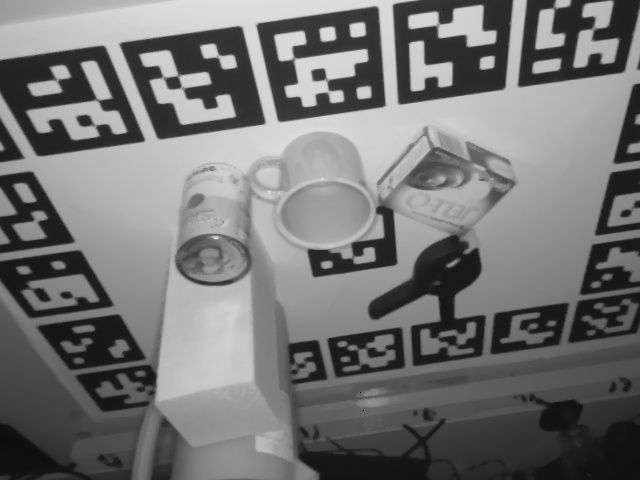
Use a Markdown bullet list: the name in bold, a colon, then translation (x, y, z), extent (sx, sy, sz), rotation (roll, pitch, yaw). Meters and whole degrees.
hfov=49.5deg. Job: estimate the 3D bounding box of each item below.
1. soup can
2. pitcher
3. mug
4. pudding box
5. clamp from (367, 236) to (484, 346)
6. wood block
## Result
- **soup can**: translation (-0.091, -0.015, 0.654), extent (0.068, 0.102, 0.067), rotation (-4, 132, -3)
- **pitcher**: translation (-0.101, 0.186, 0.753), extent (0.189, 0.244, 0.132), rotation (-10, 137, -1)
- **mug**: translation (-0.003, -0.050, 0.648), extent (0.118, 0.082, 0.092), rotation (18, 132, -24)
- **pudding box**: translation (0.142, -0.054, 0.698), extent (0.115, 0.039, 0.088), rotation (20, 126, -25)
- **clamp**: translation (0.141, 0.058, 0.814), extent (0.122, 0.037, 0.162), rotation (18, 129, -14)
- **wood block**: translation (-0.093, 0.087, 0.679), extent (0.090, 0.208, 0.090), rotation (-8, 135, 6)
